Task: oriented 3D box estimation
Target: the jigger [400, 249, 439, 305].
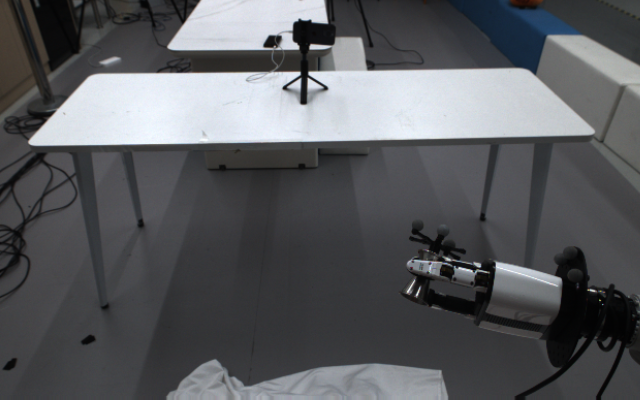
[{"bbox_3d":[0.143,0.105,0.673,0.043,0.043,0.071,20,74,24],"label":"jigger"}]
